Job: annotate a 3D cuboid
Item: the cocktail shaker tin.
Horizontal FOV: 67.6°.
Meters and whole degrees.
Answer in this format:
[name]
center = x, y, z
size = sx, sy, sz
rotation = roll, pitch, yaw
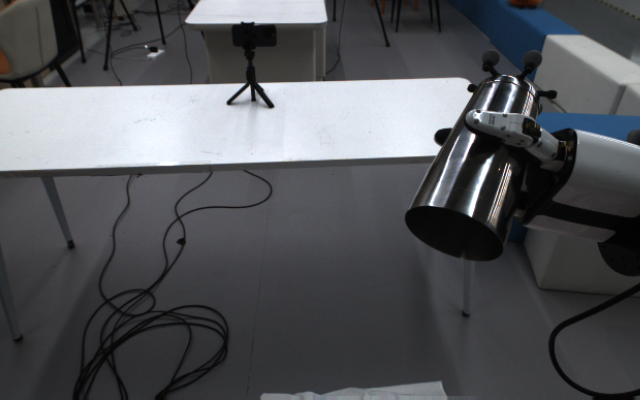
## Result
[cocktail shaker tin]
center = 0.160, -0.040, 0.470
size = 0.093, 0.093, 0.170
rotation = 18, 66, 21
